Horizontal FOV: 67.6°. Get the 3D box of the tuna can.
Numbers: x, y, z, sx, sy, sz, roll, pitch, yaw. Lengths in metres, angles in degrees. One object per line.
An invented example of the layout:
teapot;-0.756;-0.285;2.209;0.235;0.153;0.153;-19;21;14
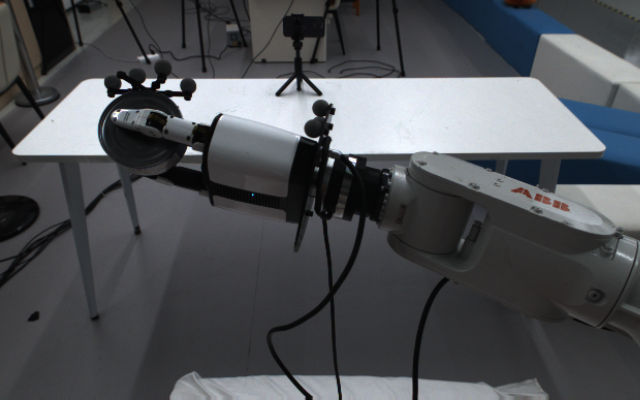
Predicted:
tuna can;-0.181;-0.068;0.511;0.085;0.034;0.085;1;73;-5
